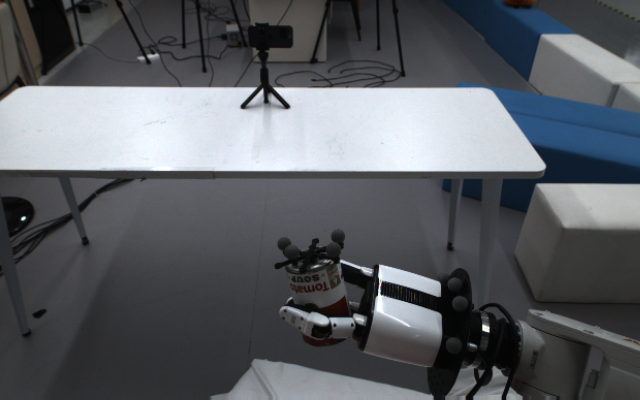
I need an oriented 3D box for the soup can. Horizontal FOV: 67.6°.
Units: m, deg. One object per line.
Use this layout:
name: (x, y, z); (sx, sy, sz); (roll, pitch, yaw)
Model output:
soup can: (0.003, 0.117, 0.593); (0.067, 0.101, 0.067); (-12, 17, 4)
